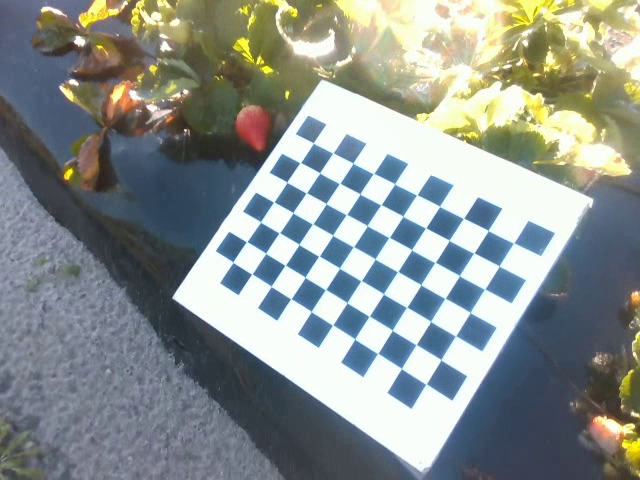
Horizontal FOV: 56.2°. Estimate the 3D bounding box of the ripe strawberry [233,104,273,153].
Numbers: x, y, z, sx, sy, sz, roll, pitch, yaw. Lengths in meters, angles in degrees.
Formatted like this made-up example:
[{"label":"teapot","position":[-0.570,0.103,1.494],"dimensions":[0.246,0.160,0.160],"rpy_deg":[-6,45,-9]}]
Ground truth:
[{"label":"ripe strawberry","position":[-0.082,-0.130,0.690],"dimensions":[0.040,0.065,0.040],"rpy_deg":[-18,-22,5]}]
